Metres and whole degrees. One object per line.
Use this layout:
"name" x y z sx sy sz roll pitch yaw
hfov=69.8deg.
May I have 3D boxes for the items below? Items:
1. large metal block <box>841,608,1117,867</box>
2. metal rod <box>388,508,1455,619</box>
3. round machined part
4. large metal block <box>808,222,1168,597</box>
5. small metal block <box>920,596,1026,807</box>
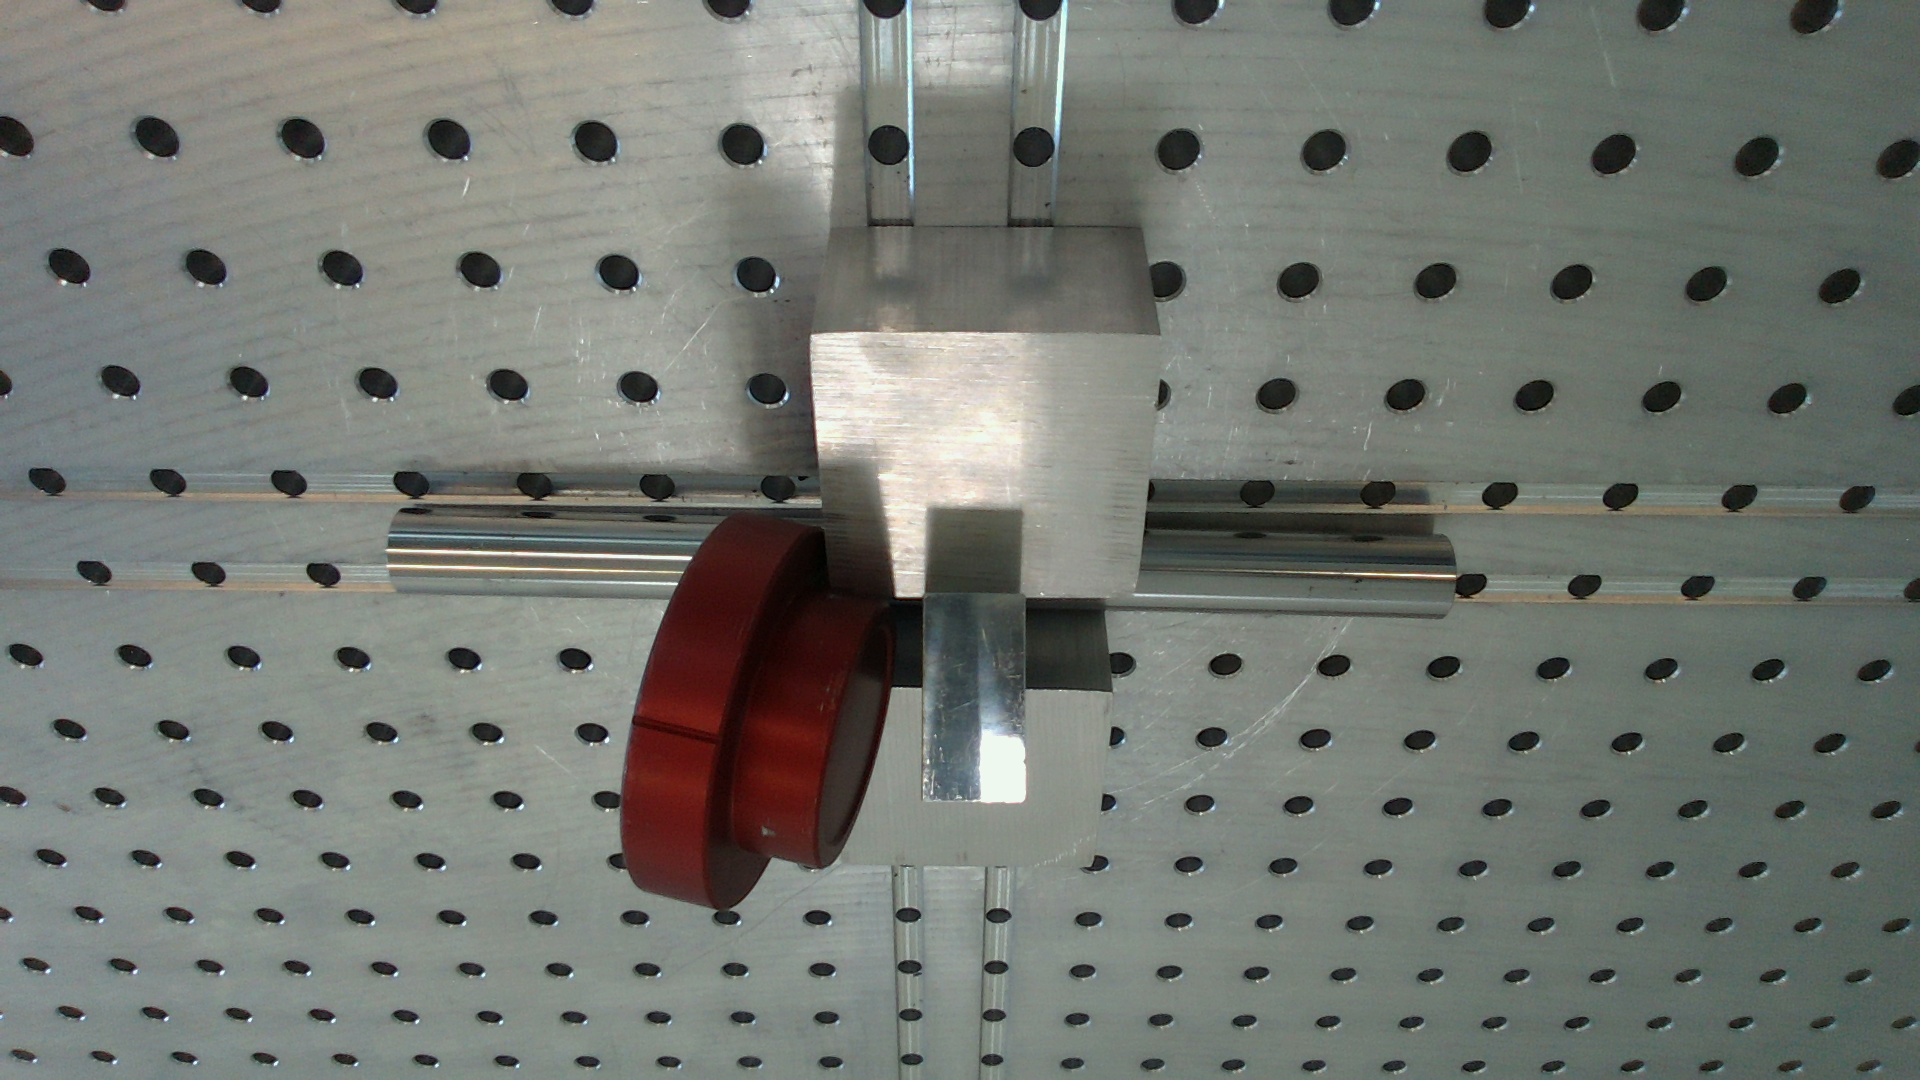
"large metal block" 0.003 0.055 0.424 0.080 0.050 0.080 1 130 -1
"metal rod" -0.010 0.007 0.399 0.300 0.025 0.025 1 130 -2
"round machined part" -0.045 0.045 0.346 0.042 0.098 0.098 12 131 8
"large metal block" 0.006 -0.032 0.350 0.080 0.050 0.080 0 130 0
"small metal block" 0.003 0.040 0.354 0.025 0.050 0.050 0 86 0
